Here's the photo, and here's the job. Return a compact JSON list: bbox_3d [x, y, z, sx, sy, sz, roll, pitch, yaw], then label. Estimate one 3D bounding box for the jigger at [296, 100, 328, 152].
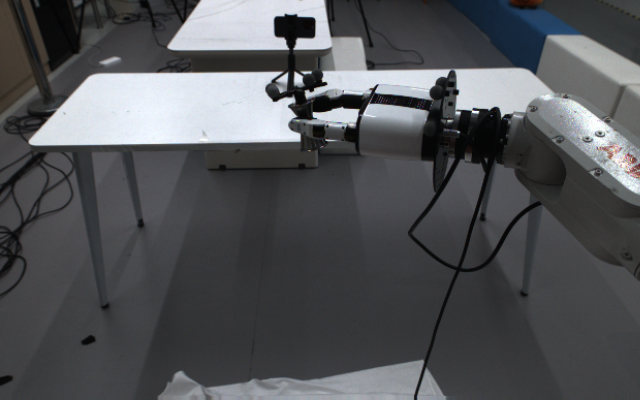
[{"bbox_3d":[-0.017,-0.108,0.699,0.043,0.071,0.043,-14,21,6],"label":"jigger"}]
